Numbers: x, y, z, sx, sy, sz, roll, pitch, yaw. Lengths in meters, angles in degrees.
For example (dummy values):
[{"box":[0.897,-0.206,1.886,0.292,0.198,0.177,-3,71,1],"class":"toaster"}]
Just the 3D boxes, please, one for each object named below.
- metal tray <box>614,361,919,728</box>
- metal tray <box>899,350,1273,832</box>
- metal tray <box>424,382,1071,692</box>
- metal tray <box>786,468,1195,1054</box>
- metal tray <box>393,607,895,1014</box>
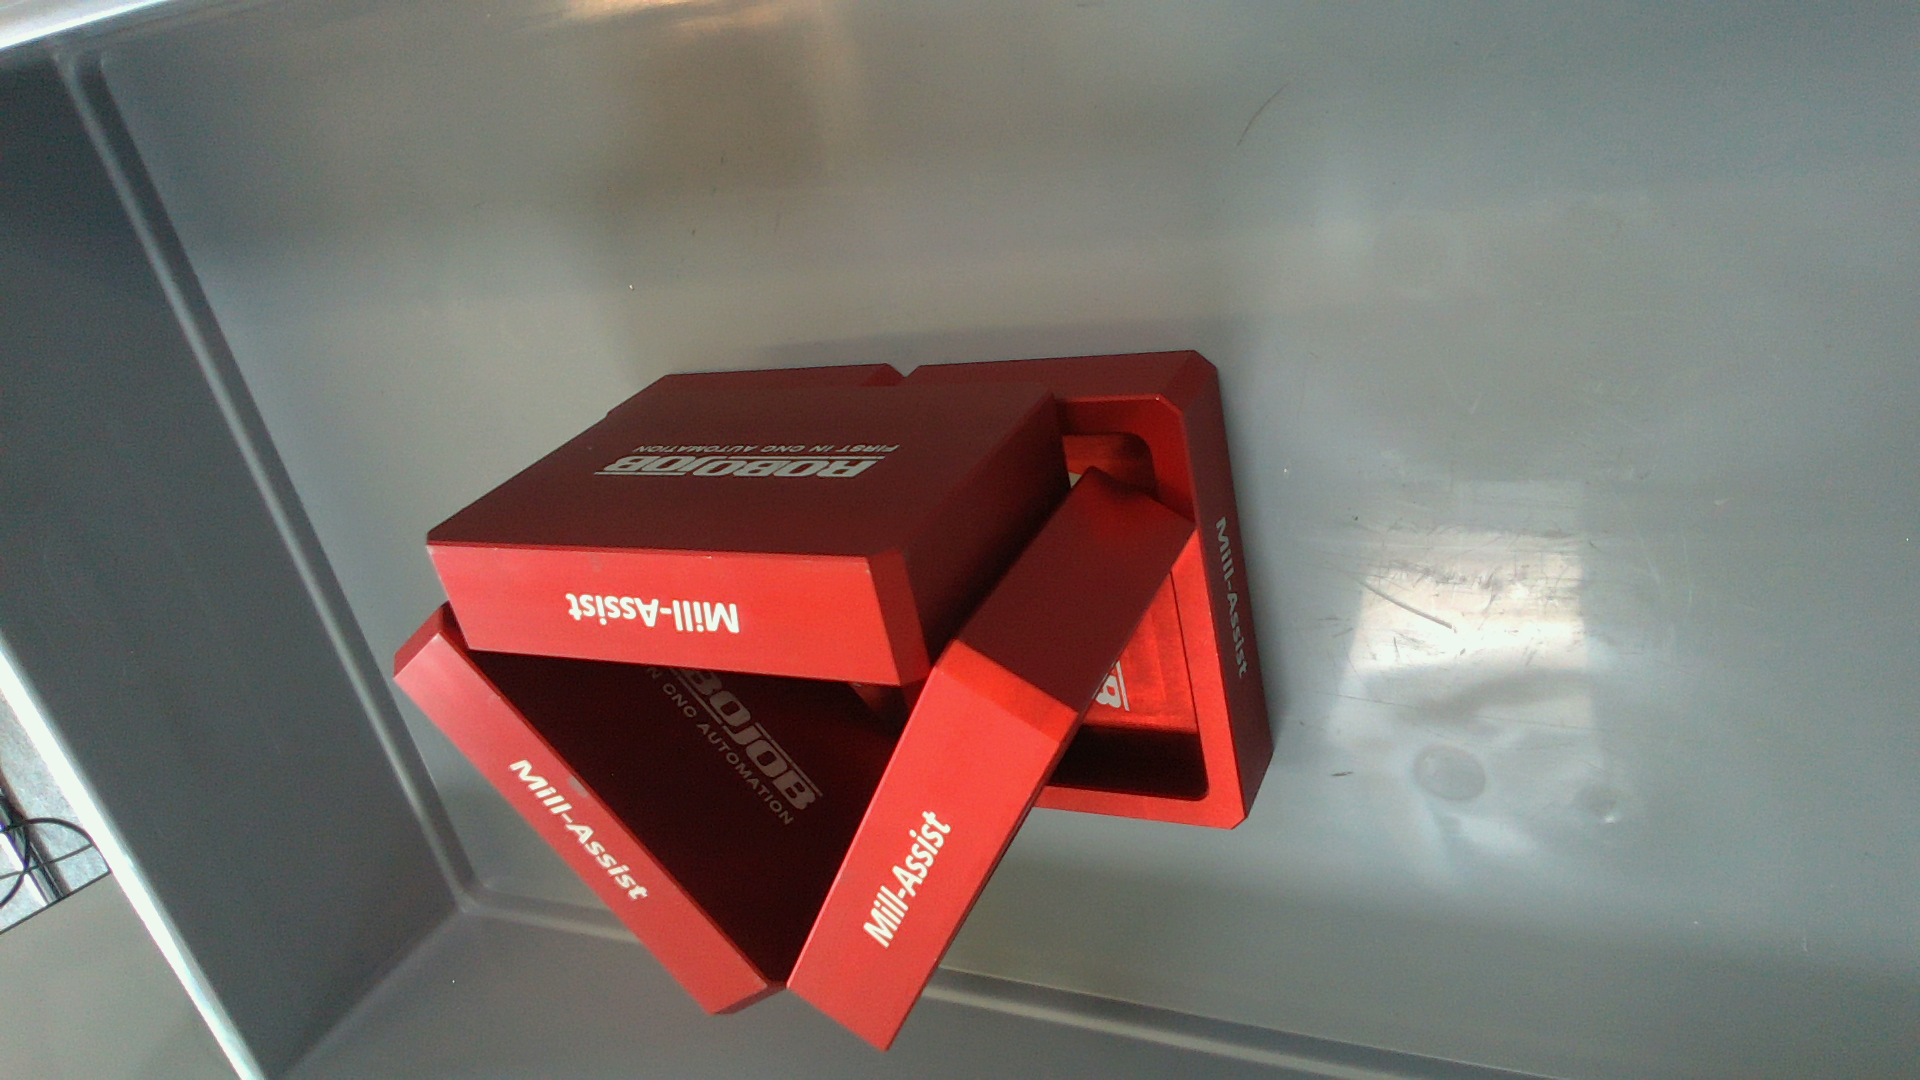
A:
[{"box":[-0.048,0.013,0.424,0.090,0.030,0.130,1,118,28],"class":"metal tray"},{"box":[0.032,0.015,0.381,0.090,0.030,0.130,1,118,28],"class":"metal tray"},{"box":[-0.049,-0.006,0.332,0.130,0.090,0.030,2,120,28],"class":"metal tray"},{"box":[0.006,0.055,0.340,0.030,0.090,0.130,31,129,9],"class":"metal tray"},{"box":[-0.078,0.053,0.384,0.130,0.090,0.030,49,129,-7],"class":"metal tray"}]
